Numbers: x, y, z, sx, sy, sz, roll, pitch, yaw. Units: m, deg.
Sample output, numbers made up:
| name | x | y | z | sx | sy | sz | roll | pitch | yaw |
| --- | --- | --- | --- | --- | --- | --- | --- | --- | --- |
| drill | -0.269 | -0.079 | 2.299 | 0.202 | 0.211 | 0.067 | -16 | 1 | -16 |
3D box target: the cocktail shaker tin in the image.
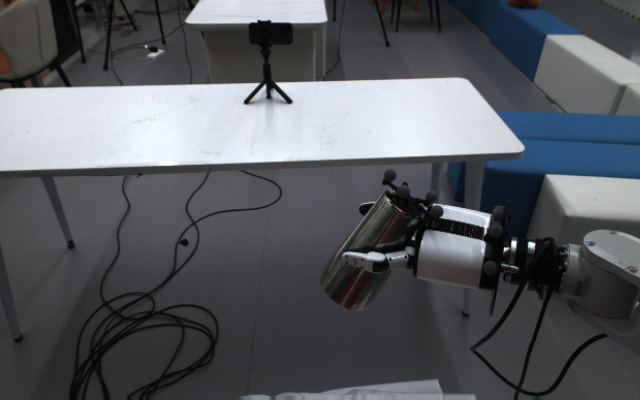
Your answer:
| name | x | y | z | sx | sy | sz | roll | pitch | yaw |
| --- | --- | --- | --- | --- | --- | --- | --- | --- | --- |
| cocktail shaker tin | 0.079 | 0.065 | 0.707 | 0.093 | 0.170 | 0.093 | 25 | 29 | -15 |
